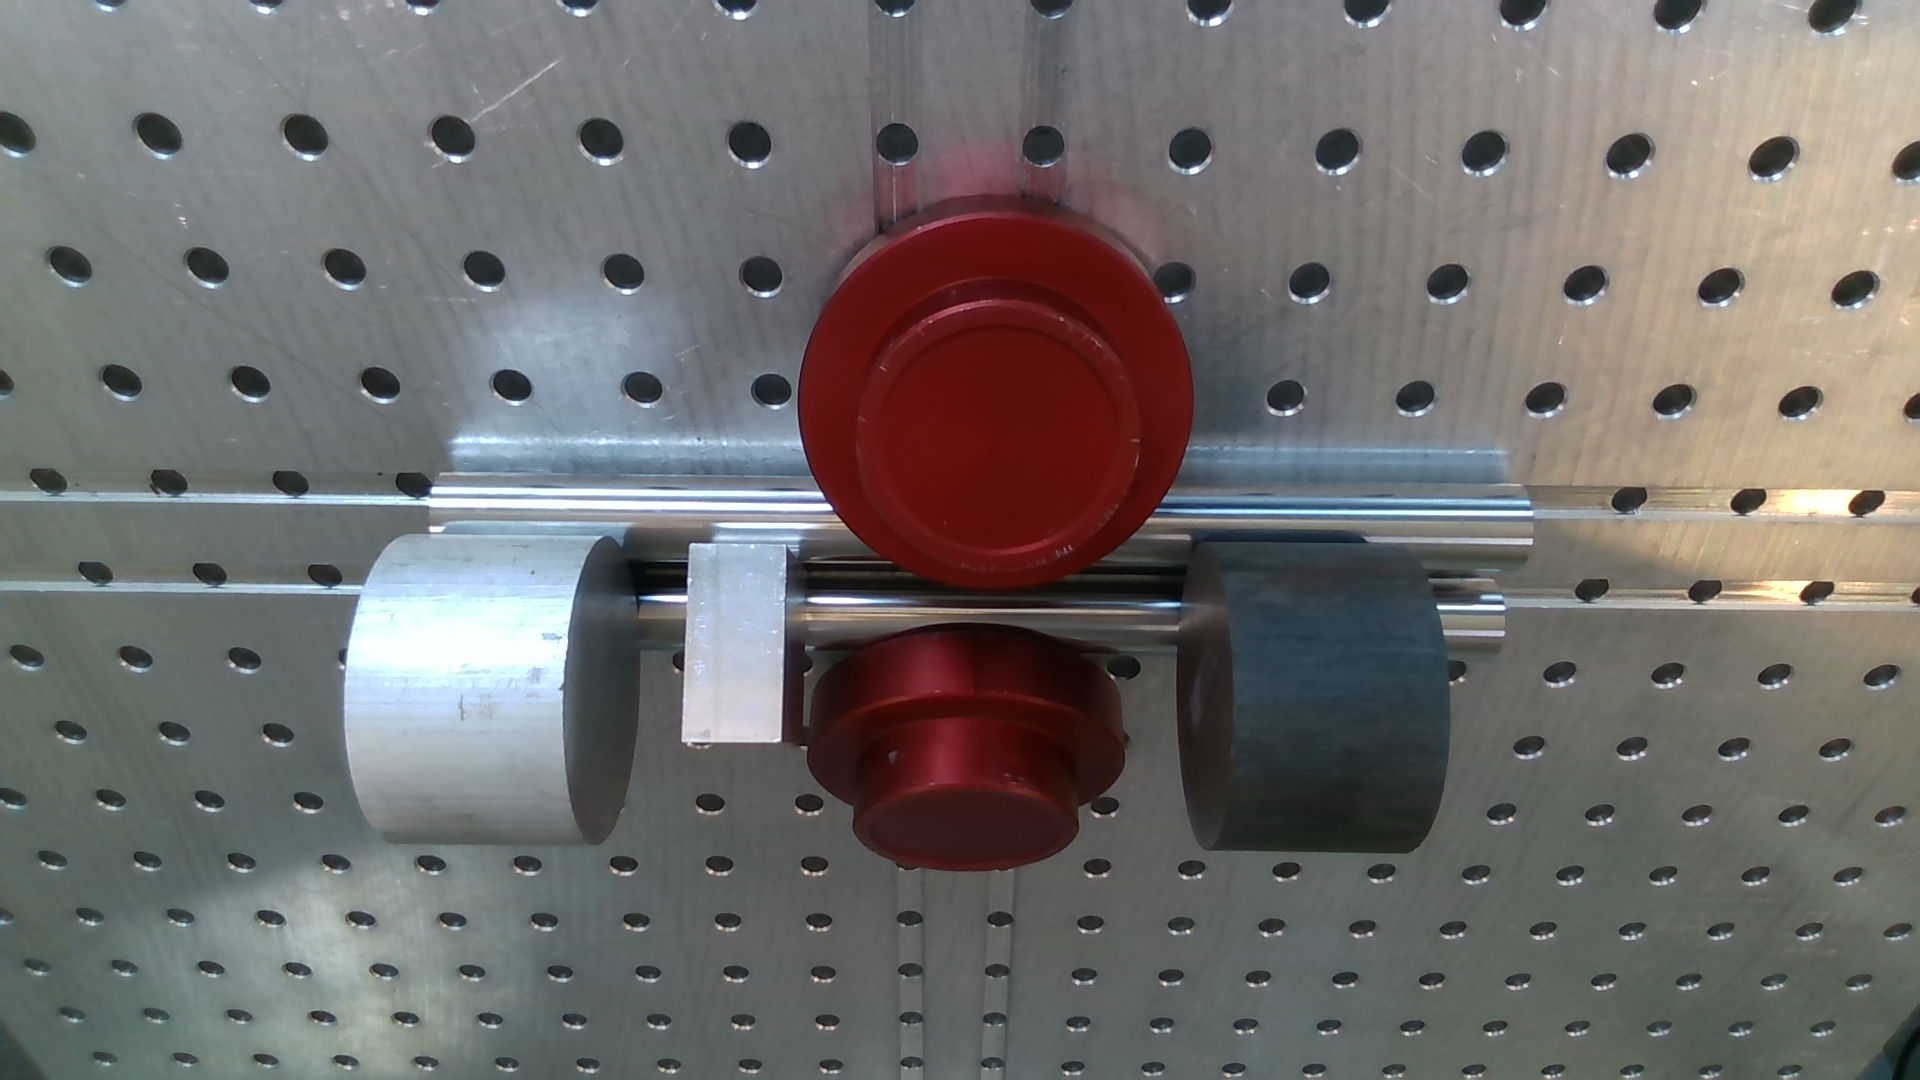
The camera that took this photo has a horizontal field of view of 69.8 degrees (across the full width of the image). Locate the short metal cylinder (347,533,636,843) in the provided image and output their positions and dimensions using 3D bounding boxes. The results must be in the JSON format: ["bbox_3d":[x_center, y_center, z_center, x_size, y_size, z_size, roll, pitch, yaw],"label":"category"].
[{"bbox_3d":[-0.118,0.038,0.360,0.050,0.080,0.080,1,130,0],"label":"short metal cylinder"}]

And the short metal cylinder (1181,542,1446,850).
[{"bbox_3d":[0.088,0.041,0.362,0.050,0.080,0.080,1,130,0],"label":"short metal cylinder"}]

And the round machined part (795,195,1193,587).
[{"bbox_3d":[0.008,-0.031,0.338,0.098,0.042,0.098,0,116,0],"label":"round machined part"}]

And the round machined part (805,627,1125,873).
[{"bbox_3d":[0.002,0.070,0.422,0.098,0.042,0.098,0,145,0],"label":"round machined part"}]

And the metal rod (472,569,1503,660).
[{"bbox_3d":[0.007,0.022,0.409,0.300,0.025,0.025,1,130,0],"label":"metal rod"}]

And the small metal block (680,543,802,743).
[{"bbox_3d":[-0.057,0.029,0.370,0.025,0.050,0.050,1,172,-1],"label":"small metal block"}]

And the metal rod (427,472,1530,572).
[{"bbox_3d":[0.005,-0.005,0.387,0.300,0.025,0.025,1,130,0],"label":"metal rod"}]
